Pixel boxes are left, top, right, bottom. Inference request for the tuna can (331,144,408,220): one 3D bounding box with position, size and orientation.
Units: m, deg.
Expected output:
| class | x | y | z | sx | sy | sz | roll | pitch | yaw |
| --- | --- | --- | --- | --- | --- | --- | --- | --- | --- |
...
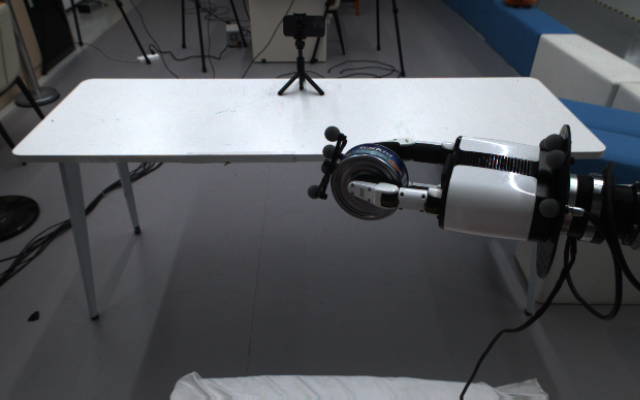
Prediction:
| class | x | y | z | sx | sy | sz | roll | pitch | yaw |
| --- | --- | --- | --- | --- | --- | --- | --- | --- | --- |
| tuna can | 0.059 | -0.022 | 0.560 | 0.085 | 0.085 | 0.034 | 12 | 30 | 14 |
